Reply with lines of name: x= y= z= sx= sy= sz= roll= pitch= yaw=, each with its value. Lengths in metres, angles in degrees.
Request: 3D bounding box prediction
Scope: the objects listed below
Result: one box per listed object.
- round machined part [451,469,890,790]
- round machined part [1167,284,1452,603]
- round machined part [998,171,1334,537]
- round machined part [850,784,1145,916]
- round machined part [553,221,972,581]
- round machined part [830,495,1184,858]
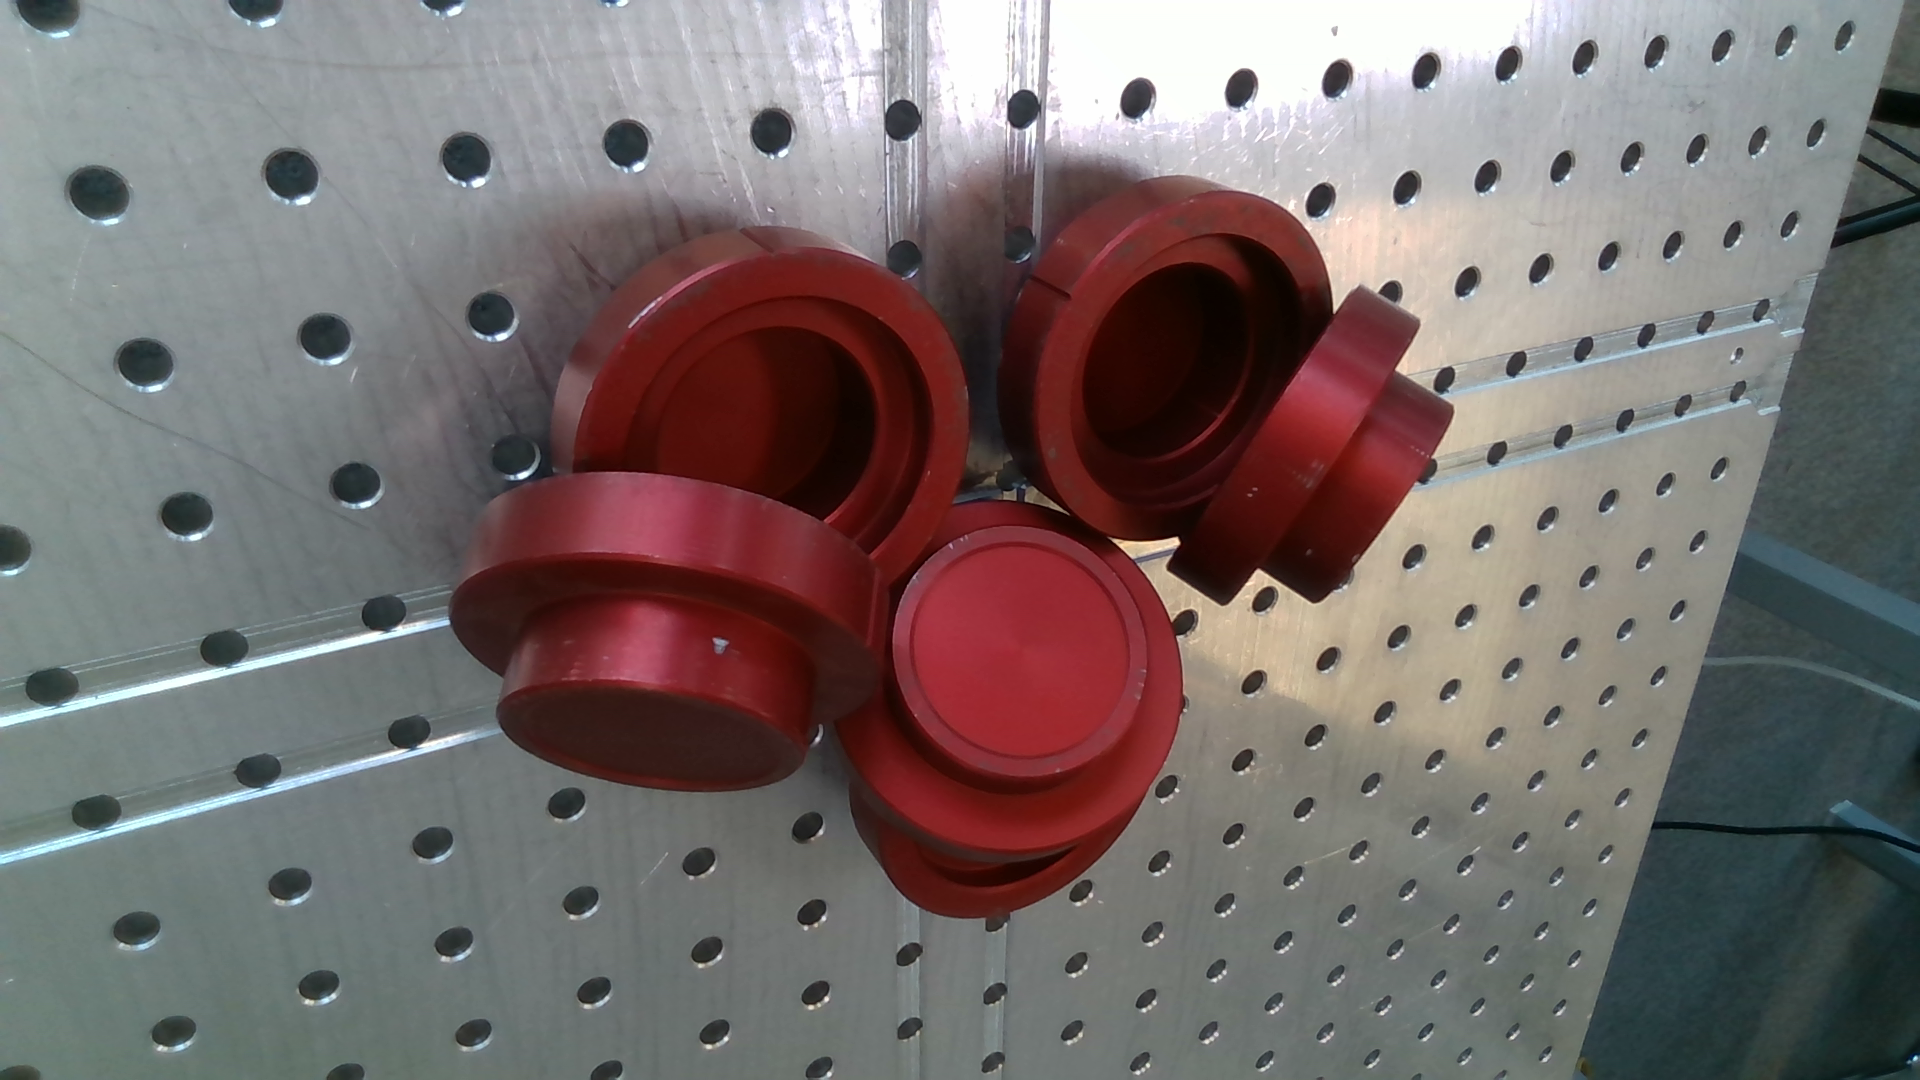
round machined part: x=-0.067 y=0.027 z=0.317 sx=0.098 sy=0.042 sz=0.098 roll=3 pitch=152 yaw=2
round machined part: x=0.104 y=-0.022 z=0.398 sx=0.098 sy=0.042 sz=0.098 roll=-55 pitch=173 yaw=-10
round machined part: x=0.052 y=-0.054 z=0.383 sx=0.098 sy=0.042 sz=0.098 roll=-14 pitch=122 yaw=-25
round machined part: x=0.010 y=0.062 z=0.420 sx=0.098 sy=0.042 sz=0.098 roll=-14 pitch=122 yaw=-25
round machined part: x=-0.050 y=-0.029 z=0.334 sx=0.098 sy=0.042 sz=0.098 roll=-14 pitch=122 yaw=-25
round machined part: x=0.013 y=0.033 z=0.368 sx=0.098 sy=0.098 sz=0.042 roll=-27 pitch=168 yaw=-17
